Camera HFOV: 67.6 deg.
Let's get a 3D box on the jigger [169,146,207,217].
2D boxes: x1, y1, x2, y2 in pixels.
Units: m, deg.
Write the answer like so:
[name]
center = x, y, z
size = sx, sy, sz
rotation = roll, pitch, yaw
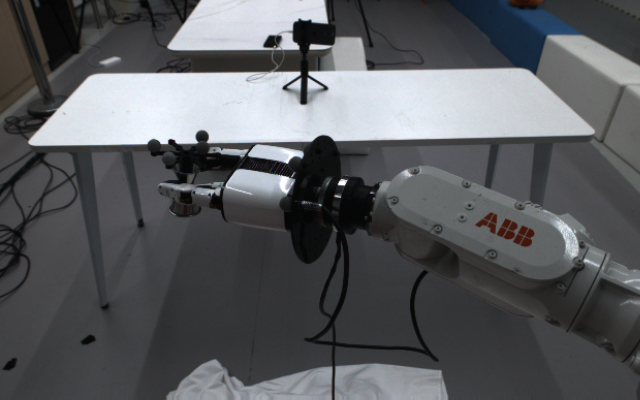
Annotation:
[jigger]
center = -0.182, -0.016, 0.657
size = 0.043, 0.071, 0.043
rotation = 9, 31, -5
